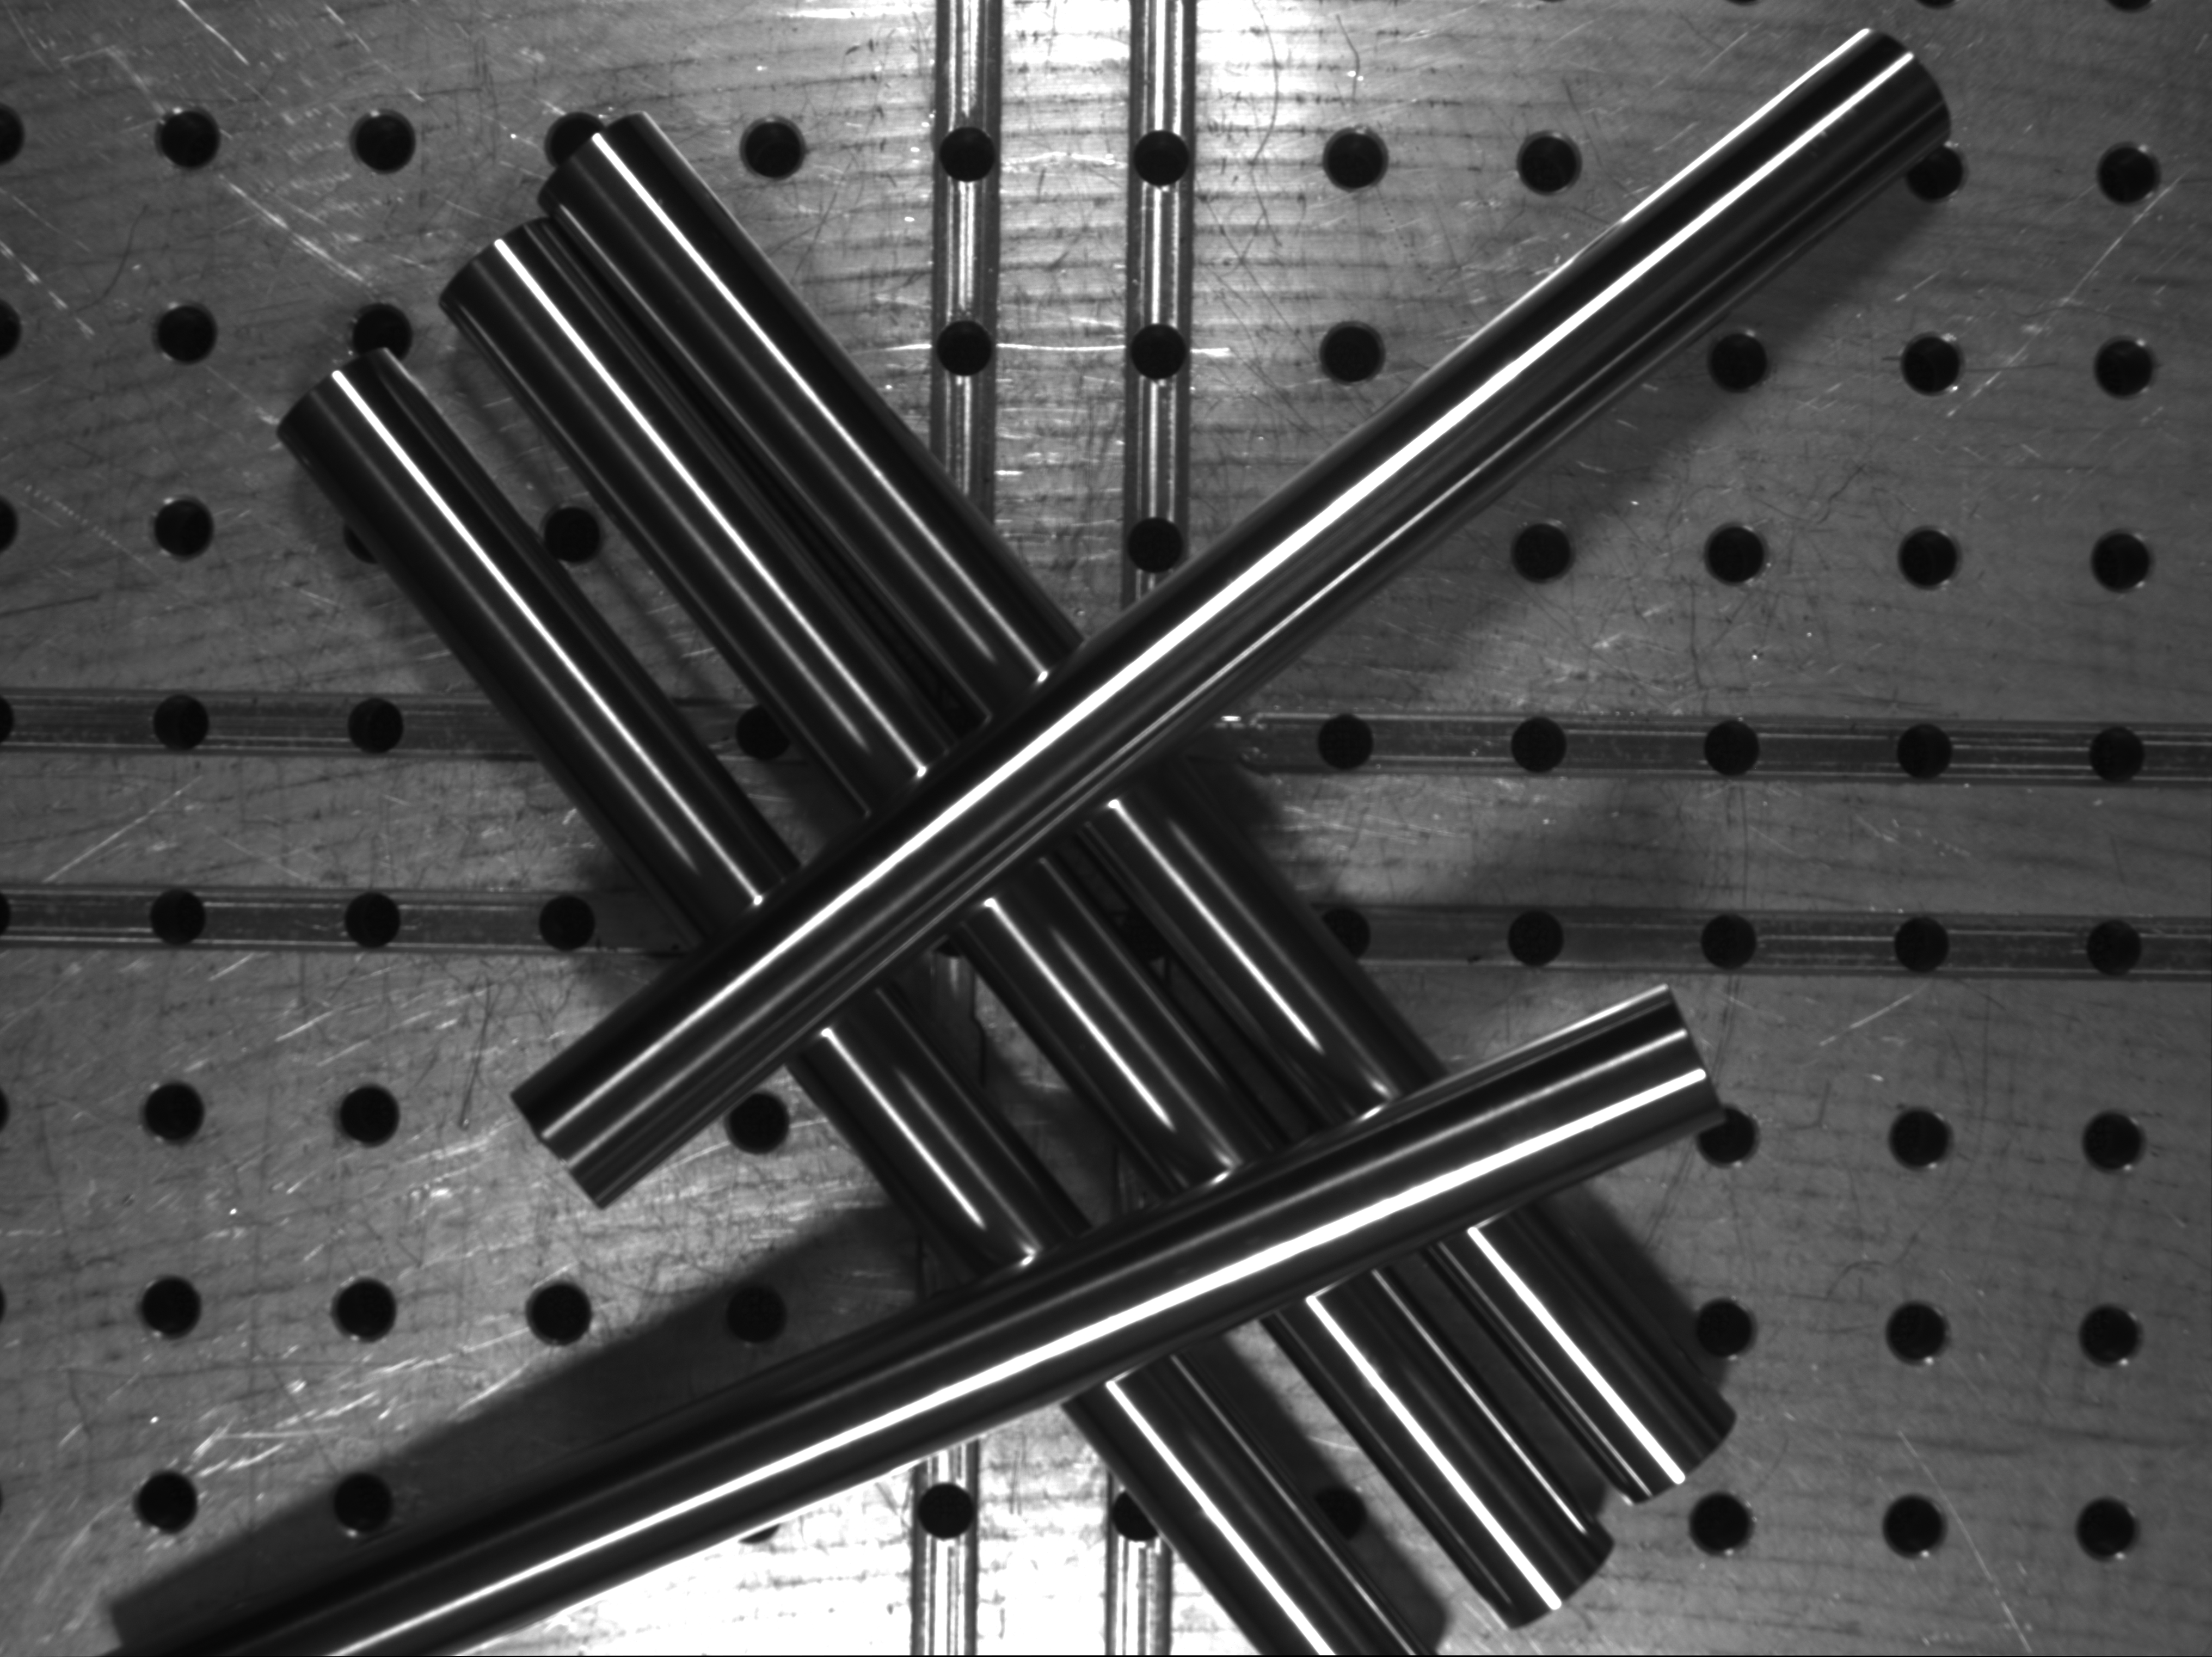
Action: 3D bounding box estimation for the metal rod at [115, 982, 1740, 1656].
[{"bbox_3d":[-0.036,0.098,0.626,0.300,0.025,0.025,-24,90,8],"label":"metal rod"}]

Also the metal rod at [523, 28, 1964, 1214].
[{"bbox_3d":[0.027,-0.039,0.627,0.300,0.025,0.025,-39,90,-8],"label":"metal rod"}]

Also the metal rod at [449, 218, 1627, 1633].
[{"bbox_3d":[-0.012,0.017,0.647,0.025,0.025,0.300,-39,90,0],"label":"metal rod"}]

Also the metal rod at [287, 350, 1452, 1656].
[{"bbox_3d":[-0.040,0.040,0.647,0.025,0.025,0.300,-39,90,0],"label":"metal rod"}]

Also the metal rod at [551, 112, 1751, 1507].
[{"bbox_3d":[0.008,-0.003,0.647,0.025,0.025,0.300,-40,90,0],"label":"metal rod"}]
